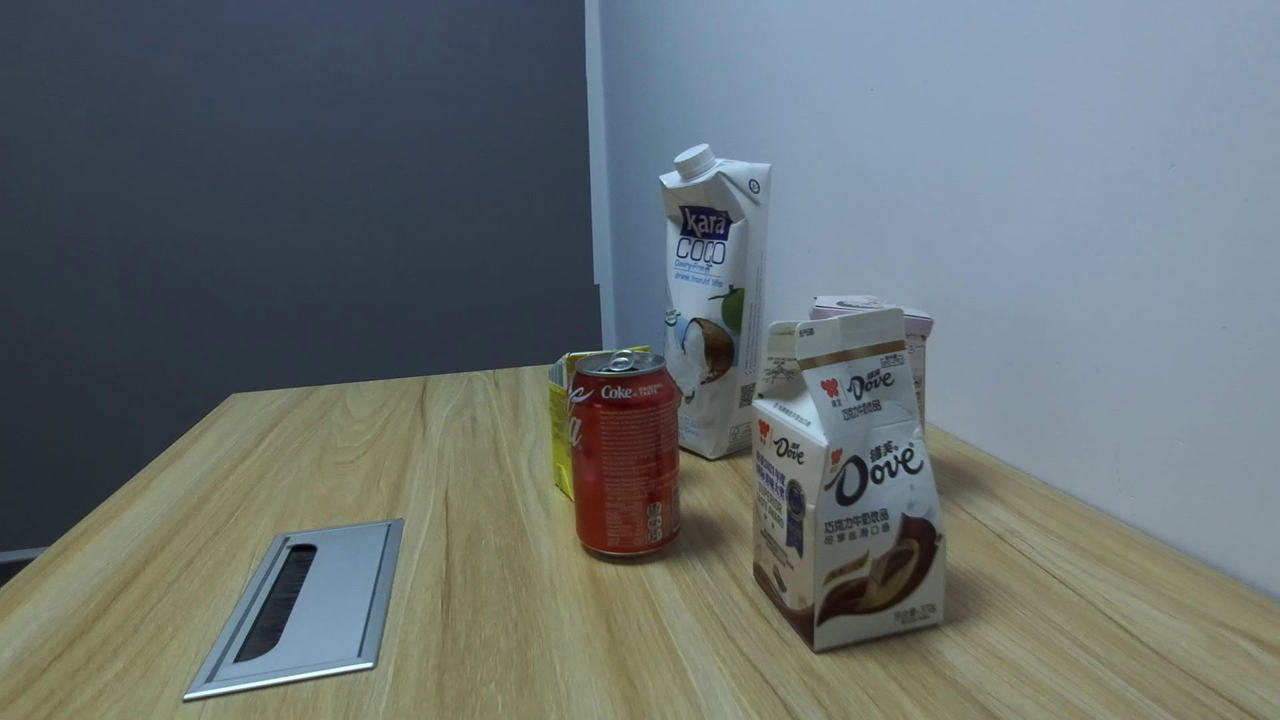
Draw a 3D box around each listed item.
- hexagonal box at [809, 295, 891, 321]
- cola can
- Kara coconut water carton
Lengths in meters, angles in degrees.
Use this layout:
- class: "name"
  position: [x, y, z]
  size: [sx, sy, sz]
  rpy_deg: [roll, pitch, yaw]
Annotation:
- class: "hexagonal box"
  position: [0.157, 0.025, 0.500]
  size: [0.085, 0.135, 0.091]
  rpy_deg: [-13, 18, -41]
- class: "cola can"
  position: [-0.009, 0.056, 0.433]
  size: [0.068, 0.120, 0.068]
  rpy_deg: [-3, 15, 1]
- class: "Kara coconut water carton"
  position: [0.060, -0.045, 0.567]
  size: [0.071, 0.244, 0.099]
  rpy_deg: [-12, 15, -39]
